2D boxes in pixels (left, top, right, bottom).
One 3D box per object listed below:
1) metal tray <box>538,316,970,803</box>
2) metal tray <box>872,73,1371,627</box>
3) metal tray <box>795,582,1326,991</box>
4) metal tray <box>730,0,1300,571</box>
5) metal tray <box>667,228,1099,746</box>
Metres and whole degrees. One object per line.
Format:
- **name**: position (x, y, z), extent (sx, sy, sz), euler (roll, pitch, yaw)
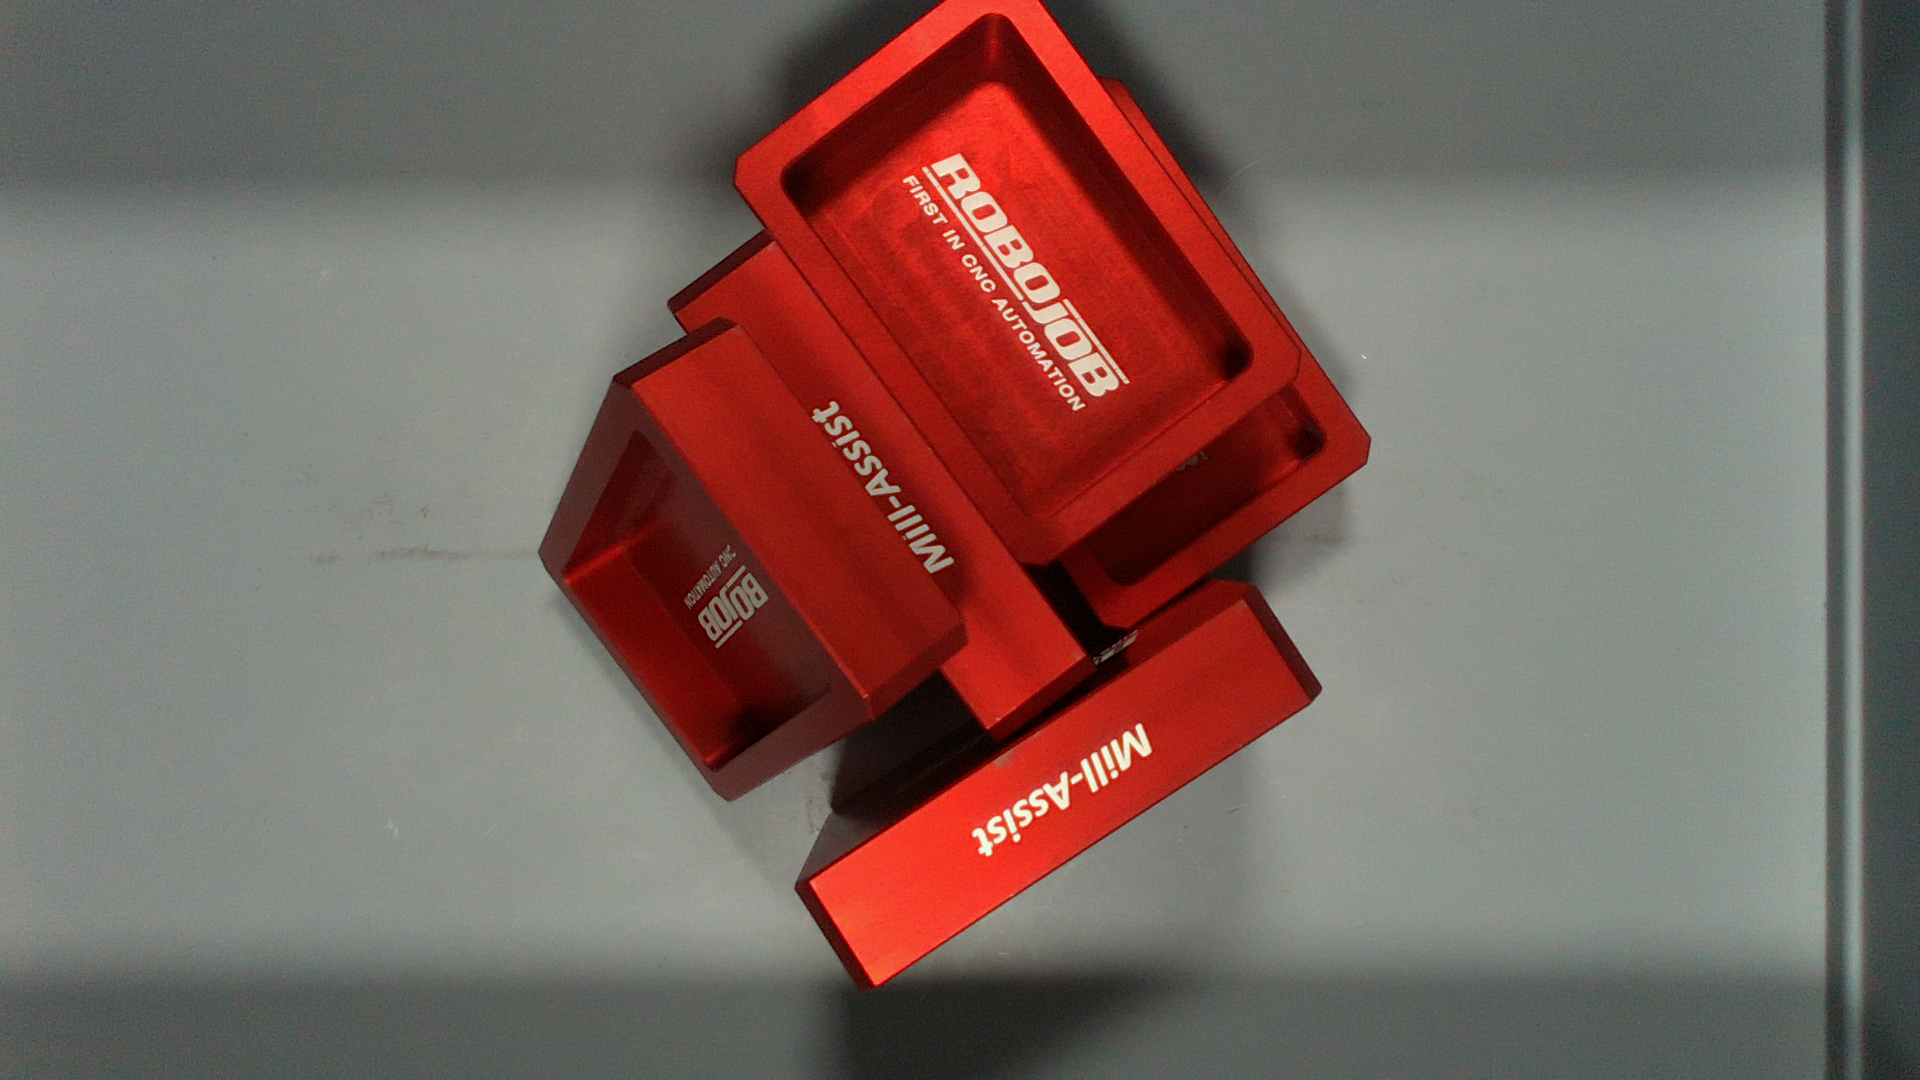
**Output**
- **metal tray**: position (-0.059, 0.013, 0.343), extent (0.030, 0.130, 0.090), euler (-37, 90, -30)
- **metal tray**: position (0.042, -0.052, 0.393), extent (0.090, 0.030, 0.130), euler (-34, 89, 1)
- **metal tray**: position (0.024, 0.058, 0.362), extent (0.130, 0.090, 0.030), euler (-33, 90, 0)
- **metal tray**: position (0.014, -0.068, 0.361), extent (0.090, 0.030, 0.130), euler (-36, 90, 0)
- **metal tray**: position (-0.018, -0.012, 0.361), extent (0.030, 0.090, 0.130), euler (-37, 90, 0)
